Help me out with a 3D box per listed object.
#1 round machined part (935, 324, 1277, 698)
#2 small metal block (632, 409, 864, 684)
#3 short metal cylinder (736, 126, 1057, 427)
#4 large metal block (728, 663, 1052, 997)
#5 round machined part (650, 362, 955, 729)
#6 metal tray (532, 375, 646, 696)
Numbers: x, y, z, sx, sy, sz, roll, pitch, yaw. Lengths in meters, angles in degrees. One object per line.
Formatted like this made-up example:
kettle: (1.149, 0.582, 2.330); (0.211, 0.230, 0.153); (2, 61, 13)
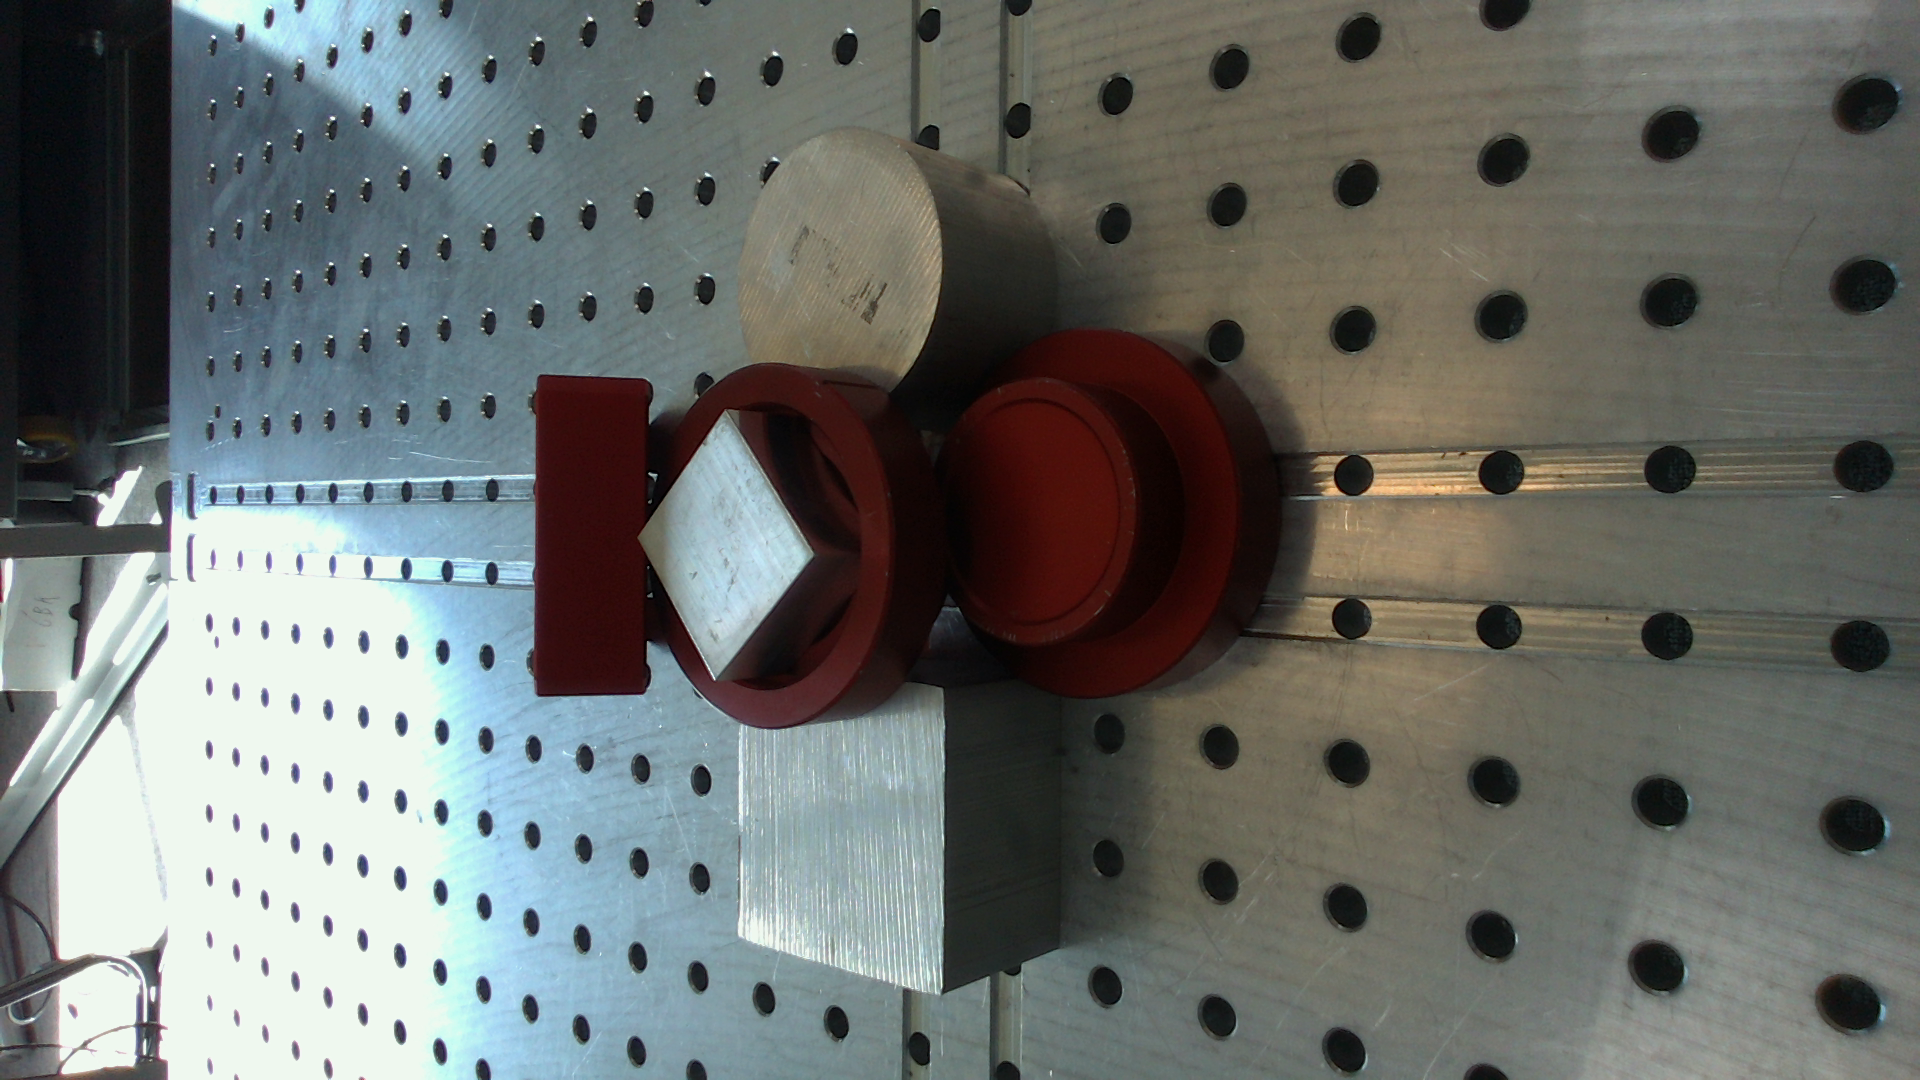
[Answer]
round machined part: (0.029, -0.008, 0.361); (0.098, 0.042, 0.098); (0, 90, 40)
small metal block: (-0.055, 0.002, 0.363); (0.050, 0.025, 0.050); (-49, 61, 29)
short metal cylinder: (-0.019, -0.073, 0.397); (0.080, 0.050, 0.080); (0, 90, 40)
large metal block: (-0.021, 0.076, 0.395); (0.080, 0.050, 0.080); (1, 91, 40)
round machined part: (-0.040, 0.001, 0.383); (0.098, 0.042, 0.098); (0, 90, 40)
metal tray: (-0.118, -0.002, 0.446); (0.130, 0.030, 0.090); (-176, 87, -77)
